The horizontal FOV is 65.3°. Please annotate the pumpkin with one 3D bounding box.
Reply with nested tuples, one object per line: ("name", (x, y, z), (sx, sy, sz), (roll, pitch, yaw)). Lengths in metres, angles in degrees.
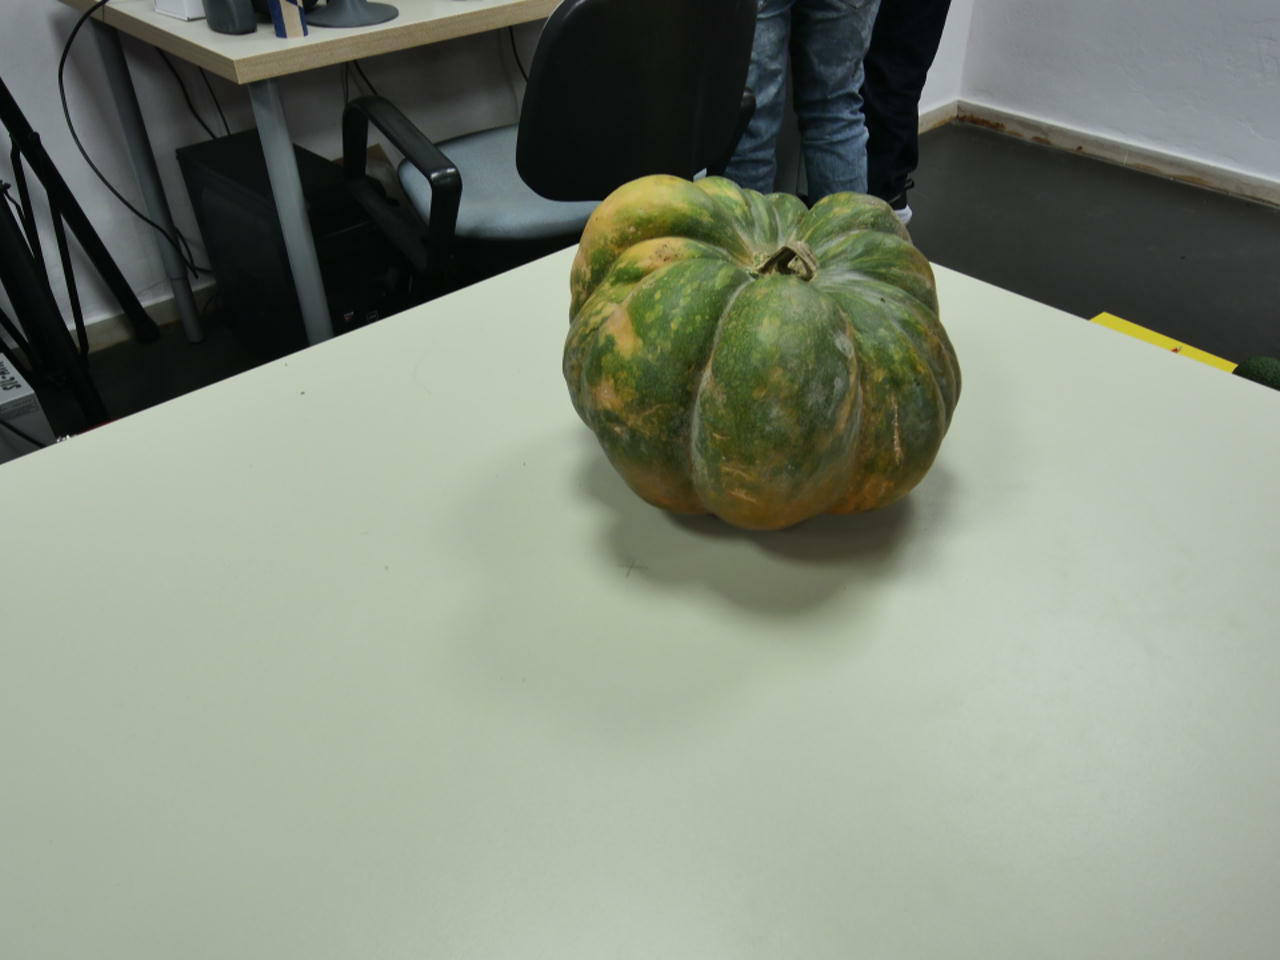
("pumpkin", (0.073, -0.083, 0.606), (0.237, 0.173, 0.270), (-2, 37, -3))
